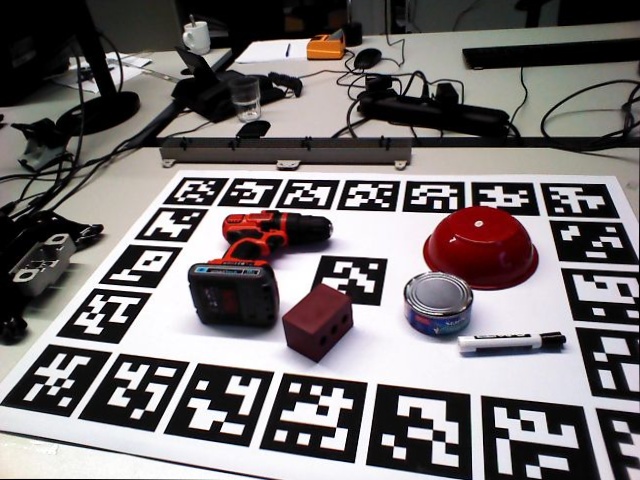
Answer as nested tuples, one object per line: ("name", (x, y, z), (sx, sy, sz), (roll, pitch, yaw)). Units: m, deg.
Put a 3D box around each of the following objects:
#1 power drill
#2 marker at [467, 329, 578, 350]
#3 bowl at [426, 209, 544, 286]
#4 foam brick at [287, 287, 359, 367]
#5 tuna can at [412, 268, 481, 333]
("power drill", (-0.085, 0.031, 0.747), (0.185, 0.057, 0.186), (4, 35, 10))
("marker", (0.232, 0.114, 0.594), (0.121, 0.020, 0.019), (-4, 38, 6))
("bowl", (0.233, -0.001, 0.738), (0.162, 0.055, 0.161), (-7, 29, 4))
("foam brick", (0.005, 0.106, 0.636), (0.051, 0.053, 0.077), (20, 46, 31))
("tuna can", (0.158, 0.075, 0.650), (0.086, 0.034, 0.085), (-4, 37, 2))
